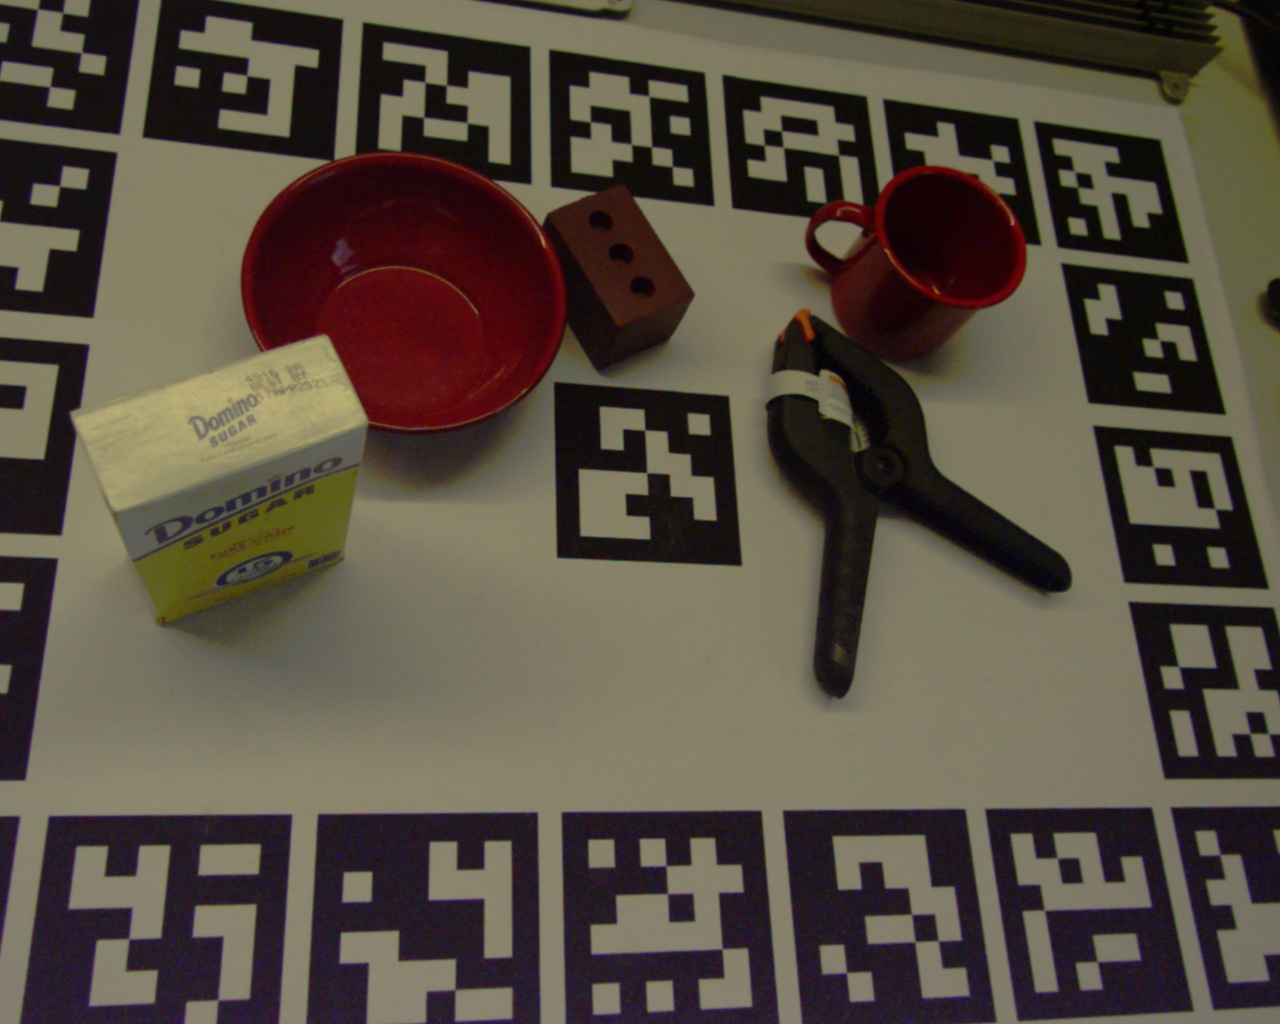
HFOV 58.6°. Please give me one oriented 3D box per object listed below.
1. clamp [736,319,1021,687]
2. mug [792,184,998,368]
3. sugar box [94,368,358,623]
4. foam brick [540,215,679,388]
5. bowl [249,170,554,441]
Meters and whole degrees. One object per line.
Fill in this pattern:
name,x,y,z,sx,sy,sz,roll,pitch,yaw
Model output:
clamp,0.115,-0.020,0.670,0.164,0.037,0.203,-21,79,-18
mug,0.147,-0.146,0.701,0.117,0.082,0.093,29,67,-8
sugar box,-0.182,0.000,0.517,0.092,0.177,0.045,-23,82,-22
foam brick,-0.022,-0.123,0.674,0.052,0.051,0.078,-25,81,-20
bowl,-0.131,-0.105,0.631,0.160,0.055,0.162,5,71,-14
